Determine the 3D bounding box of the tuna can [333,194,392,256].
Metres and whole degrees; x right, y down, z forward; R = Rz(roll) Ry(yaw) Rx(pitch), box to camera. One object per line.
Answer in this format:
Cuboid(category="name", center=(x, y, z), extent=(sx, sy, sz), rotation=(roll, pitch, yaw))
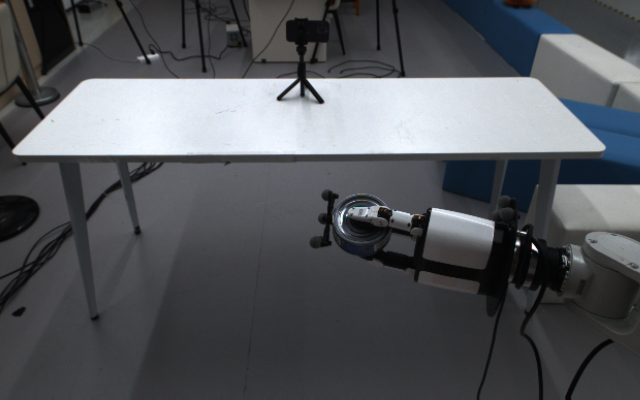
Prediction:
Cuboid(category="tuna can", center=(0.063, 0.038, 0.684), extent=(0.085, 0.034, 0.085), rotation=(-1, 58, 2))
